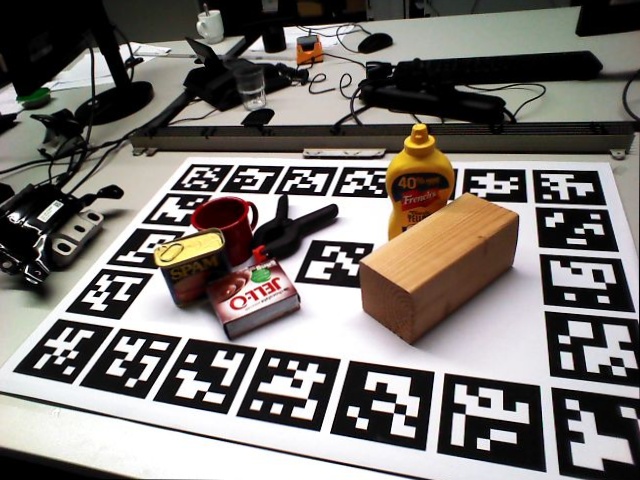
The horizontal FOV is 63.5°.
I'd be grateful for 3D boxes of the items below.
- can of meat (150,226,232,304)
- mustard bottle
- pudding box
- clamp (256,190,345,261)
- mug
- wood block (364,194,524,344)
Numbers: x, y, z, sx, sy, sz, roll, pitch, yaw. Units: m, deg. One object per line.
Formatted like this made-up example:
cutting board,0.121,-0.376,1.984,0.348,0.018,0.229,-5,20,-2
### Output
can of meat,-0.181,0.037,0.745,0.102,0.084,0.057,-16,40,-7
mustard bottle,0.144,-0.081,0.730,0.097,0.192,0.058,-1,40,14
pudding box,-0.088,0.077,0.717,0.113,0.039,0.090,-21,40,-15
clamp,-0.049,-0.026,0.844,0.122,0.037,0.164,19,49,30
mug,-0.138,-0.008,0.837,0.094,0.081,0.116,20,50,33
wood block,0.166,0.030,0.677,0.205,0.091,0.090,-29,40,-25
